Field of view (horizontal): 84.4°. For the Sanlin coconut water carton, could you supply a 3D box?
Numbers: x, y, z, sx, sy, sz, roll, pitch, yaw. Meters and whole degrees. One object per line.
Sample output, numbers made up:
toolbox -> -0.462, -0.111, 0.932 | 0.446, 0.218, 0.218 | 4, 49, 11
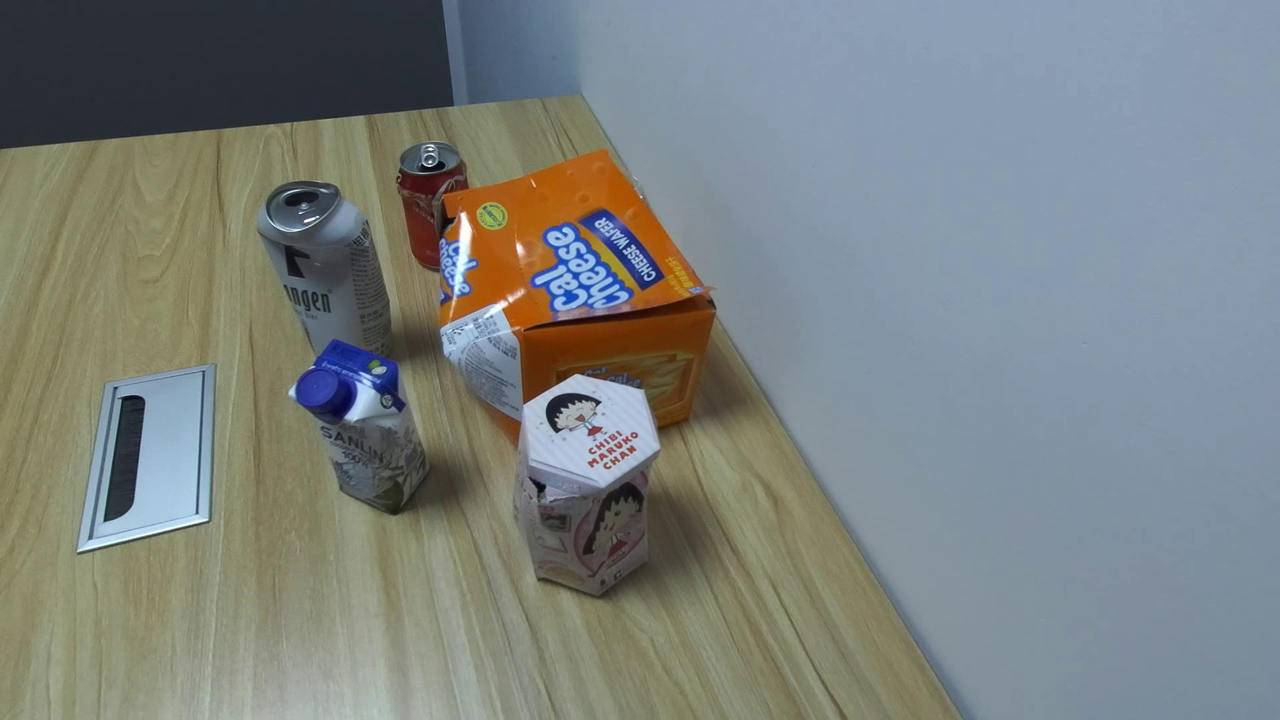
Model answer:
Sanlin coconut water carton -> -0.192, 0.047, 0.491 | 0.078, 0.142, 0.058 | 19, 54, 13

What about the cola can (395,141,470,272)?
cola can -> -0.197, -0.149, 0.689 | 0.066, 0.117, 0.066 | 23, 49, 16

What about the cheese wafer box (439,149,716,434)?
cheese wafer box -> -0.071, -0.049, 0.590 | 0.192, 0.145, 0.218 | -16, 51, -20

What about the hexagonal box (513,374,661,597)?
hexagonal box -> -0.036, 0.087, 0.474 | 0.091, 0.134, 0.090 | 1, 44, -3

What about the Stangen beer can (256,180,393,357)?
Stangen beer can -> -0.249, -0.063, 0.568 | 0.077, 0.162, 0.065 | -19, 54, -21
